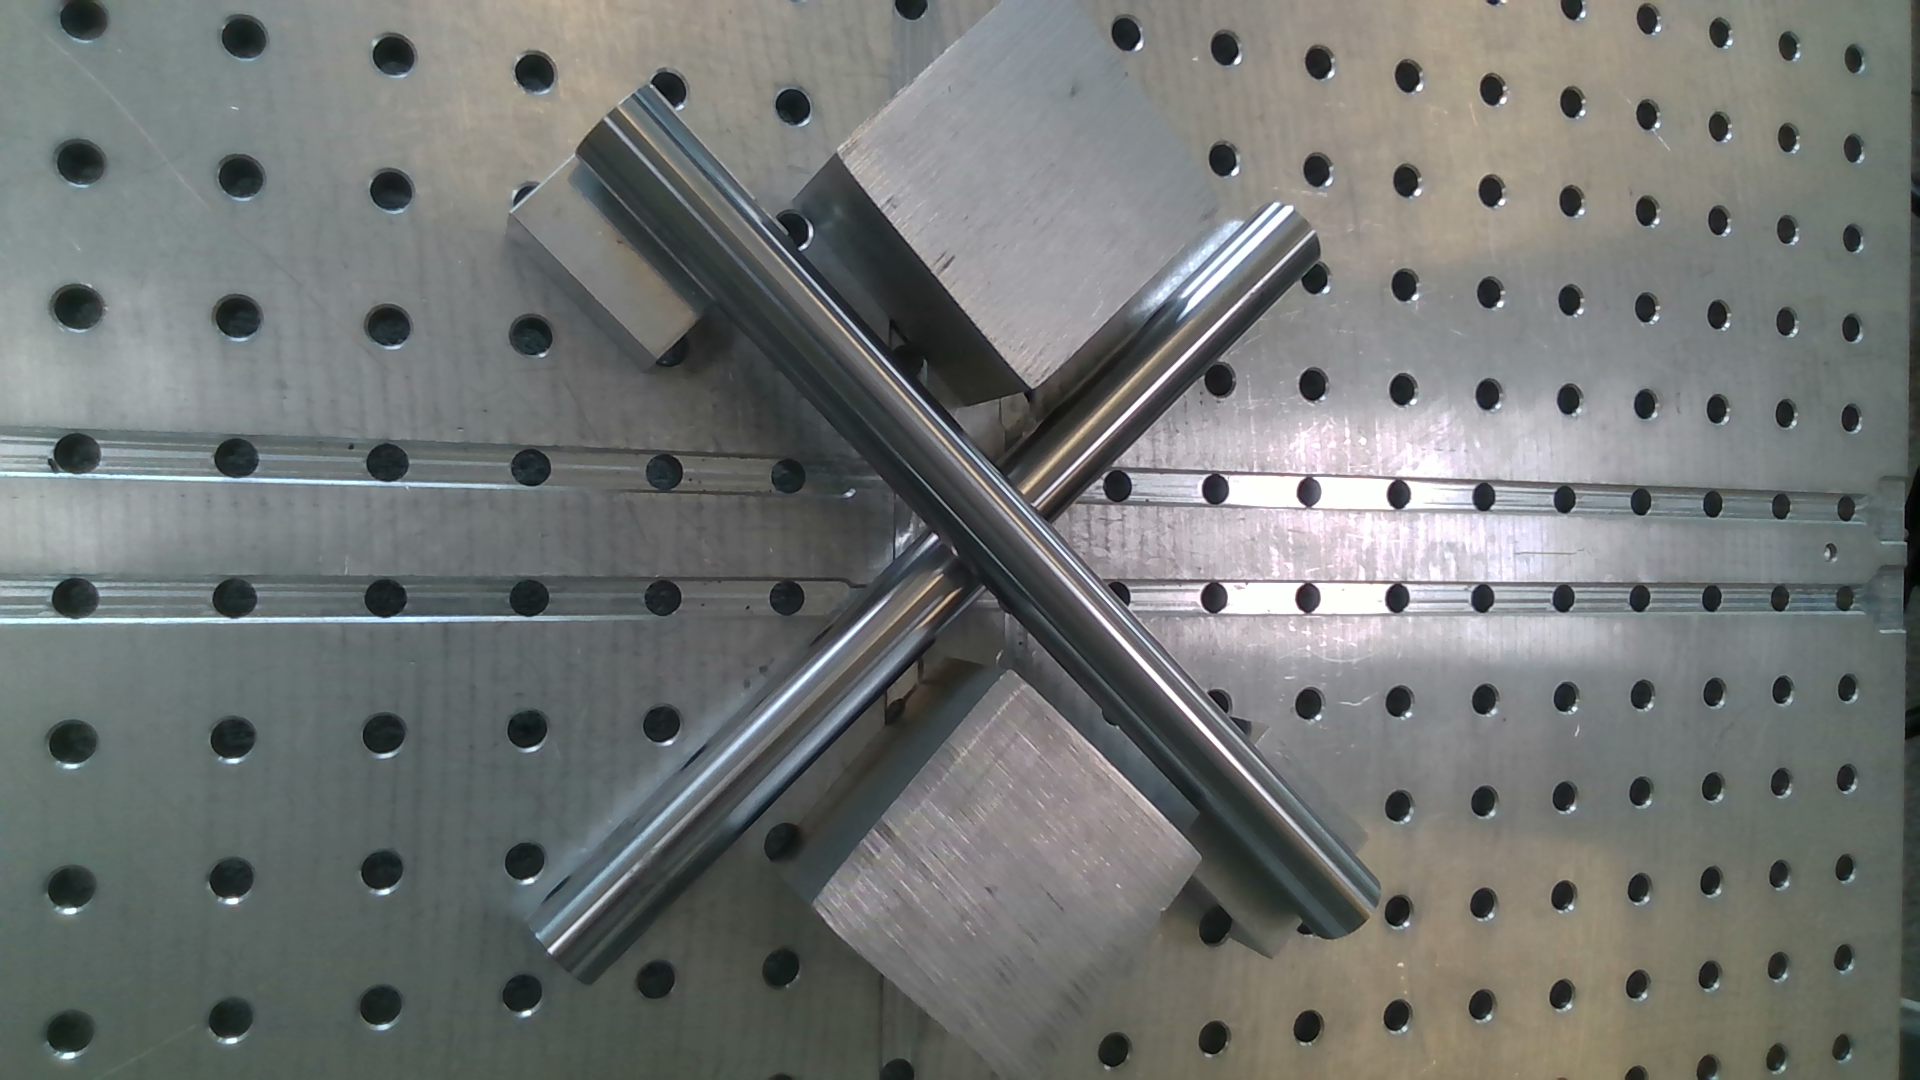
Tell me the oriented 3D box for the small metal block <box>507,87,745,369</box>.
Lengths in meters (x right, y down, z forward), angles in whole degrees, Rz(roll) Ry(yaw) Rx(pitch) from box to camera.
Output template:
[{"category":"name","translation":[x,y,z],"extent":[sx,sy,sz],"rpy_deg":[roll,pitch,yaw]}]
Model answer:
[{"category":"small metal block","translation":[-0.083,-0.082,0.366],"extent":[0.050,0.025,0.050],"rpy_deg":[46,76,-14]}]

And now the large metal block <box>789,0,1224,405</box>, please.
[{"category":"large metal block","translation":[0.012,-0.096,0.388],"extent":[0.080,0.050,0.080],"rpy_deg":[-45,104,-14]}]

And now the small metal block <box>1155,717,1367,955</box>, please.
[{"category":"small metal block","translation":[0.090,0.091,0.431],"extent":[0.050,0.025,0.050],"rpy_deg":[-46,104,-14]}]

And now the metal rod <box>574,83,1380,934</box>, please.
[{"category":"metal rod","translation":[0.015,0.002,0.375],"extent":[0.300,0.025,0.025],"rpy_deg":[46,76,-14]}]

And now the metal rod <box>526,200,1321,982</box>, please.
[{"category":"metal rod","translation":[0.000,0.005,0.396],"extent":[0.300,0.025,0.025],"rpy_deg":[-44,104,-15]}]

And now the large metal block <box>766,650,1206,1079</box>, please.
[{"category":"large metal block","translation":[0.007,0.089,0.386],"extent":[0.080,0.050,0.080],"rpy_deg":[45,76,-15]}]
